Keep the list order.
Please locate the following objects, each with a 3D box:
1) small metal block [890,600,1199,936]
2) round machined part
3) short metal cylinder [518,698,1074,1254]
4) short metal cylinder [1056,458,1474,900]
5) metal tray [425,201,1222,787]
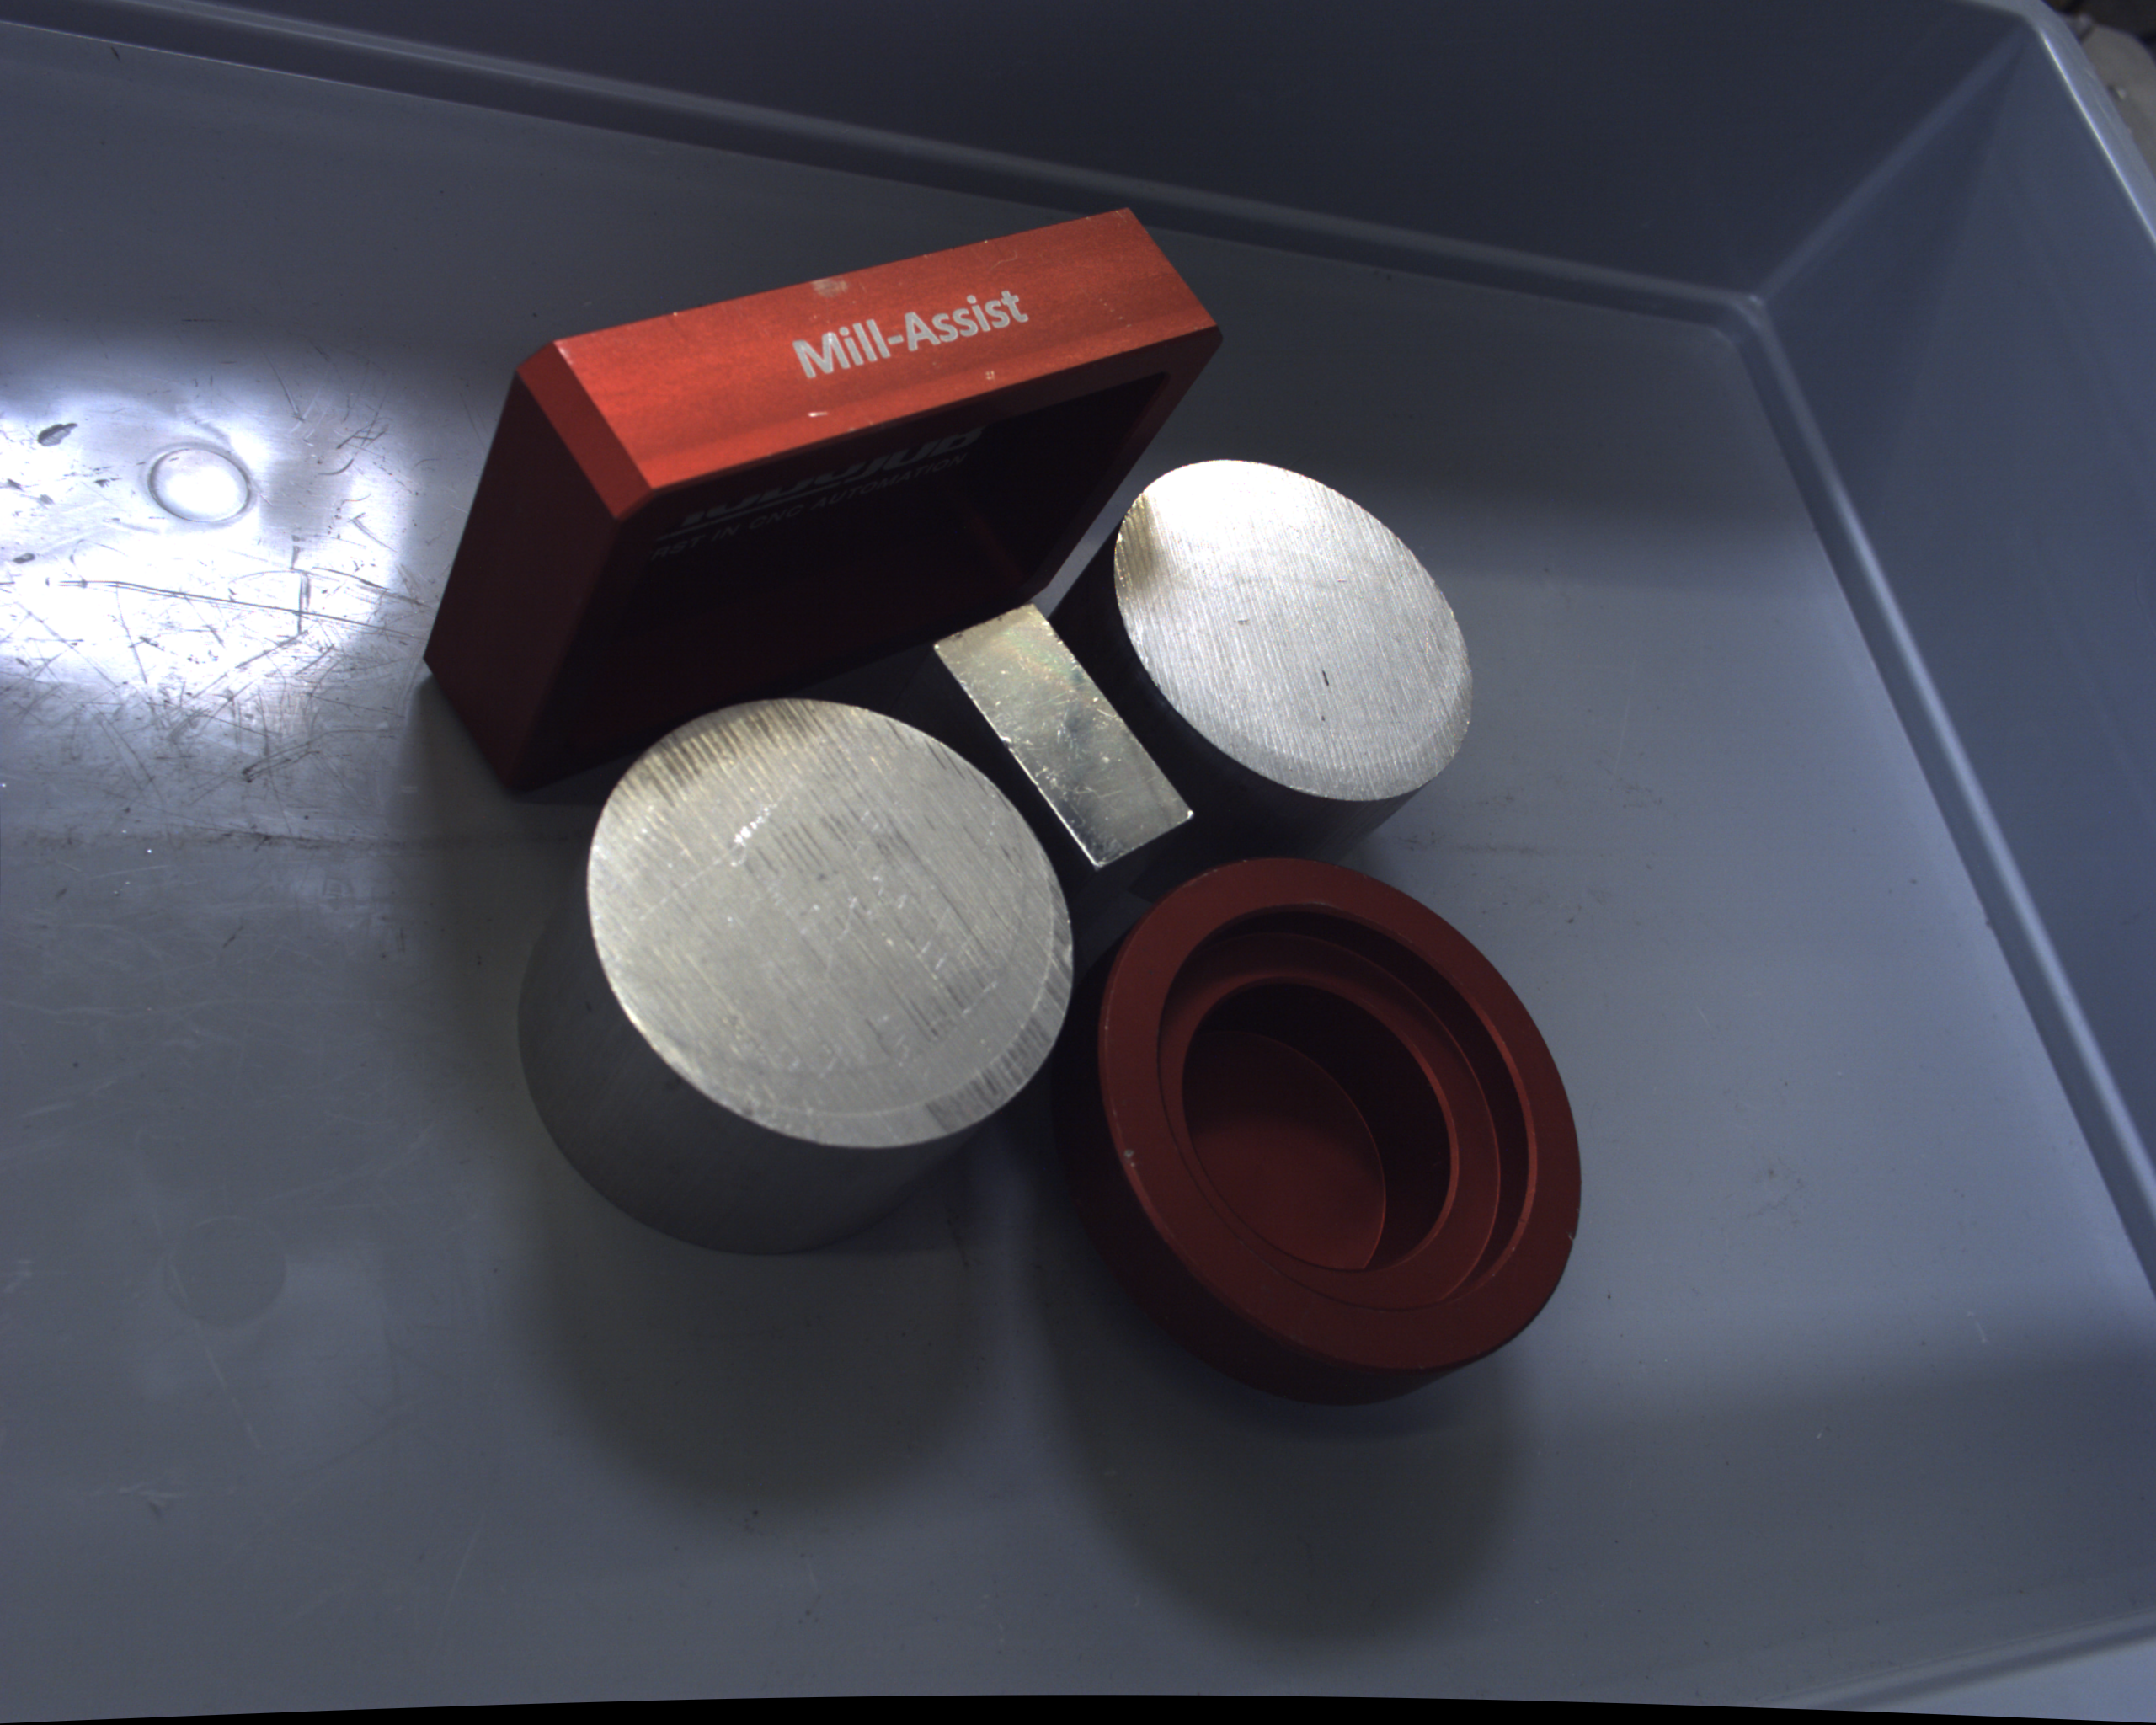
[{"bbox_3d":[-0.012,-0.012,0.387,0.025,0.050,0.050,-28,78,-37],"label":"small metal block"},{"bbox_3d":[0.040,0.051,0.382,0.099,0.042,0.098,14,56,-21],"label":"round machined part"},{"bbox_3d":[-0.048,0.019,0.350,0.081,0.050,0.080,14,56,-21],"label":"short metal cylinder"},{"bbox_3d":[0.033,-0.035,0.426,0.081,0.050,0.080,14,56,-21],"label":"short metal cylinder"},{"bbox_3d":[-0.045,-0.067,0.377,0.131,0.090,0.030,-26,77,-36],"label":"metal tray"}]
